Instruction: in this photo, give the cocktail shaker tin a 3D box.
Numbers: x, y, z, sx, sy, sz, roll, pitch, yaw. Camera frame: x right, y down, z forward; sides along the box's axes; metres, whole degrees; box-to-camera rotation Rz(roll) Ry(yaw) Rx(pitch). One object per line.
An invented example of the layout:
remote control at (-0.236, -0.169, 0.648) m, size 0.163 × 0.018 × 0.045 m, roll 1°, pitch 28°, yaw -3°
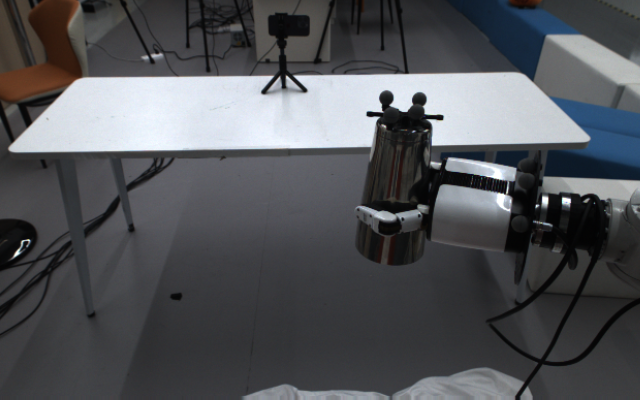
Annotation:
cocktail shaker tin at (0.098, -0.016, 0.604) m, size 0.093 × 0.170 × 0.093 m, roll 2°, pitch 28°, yaw -1°
